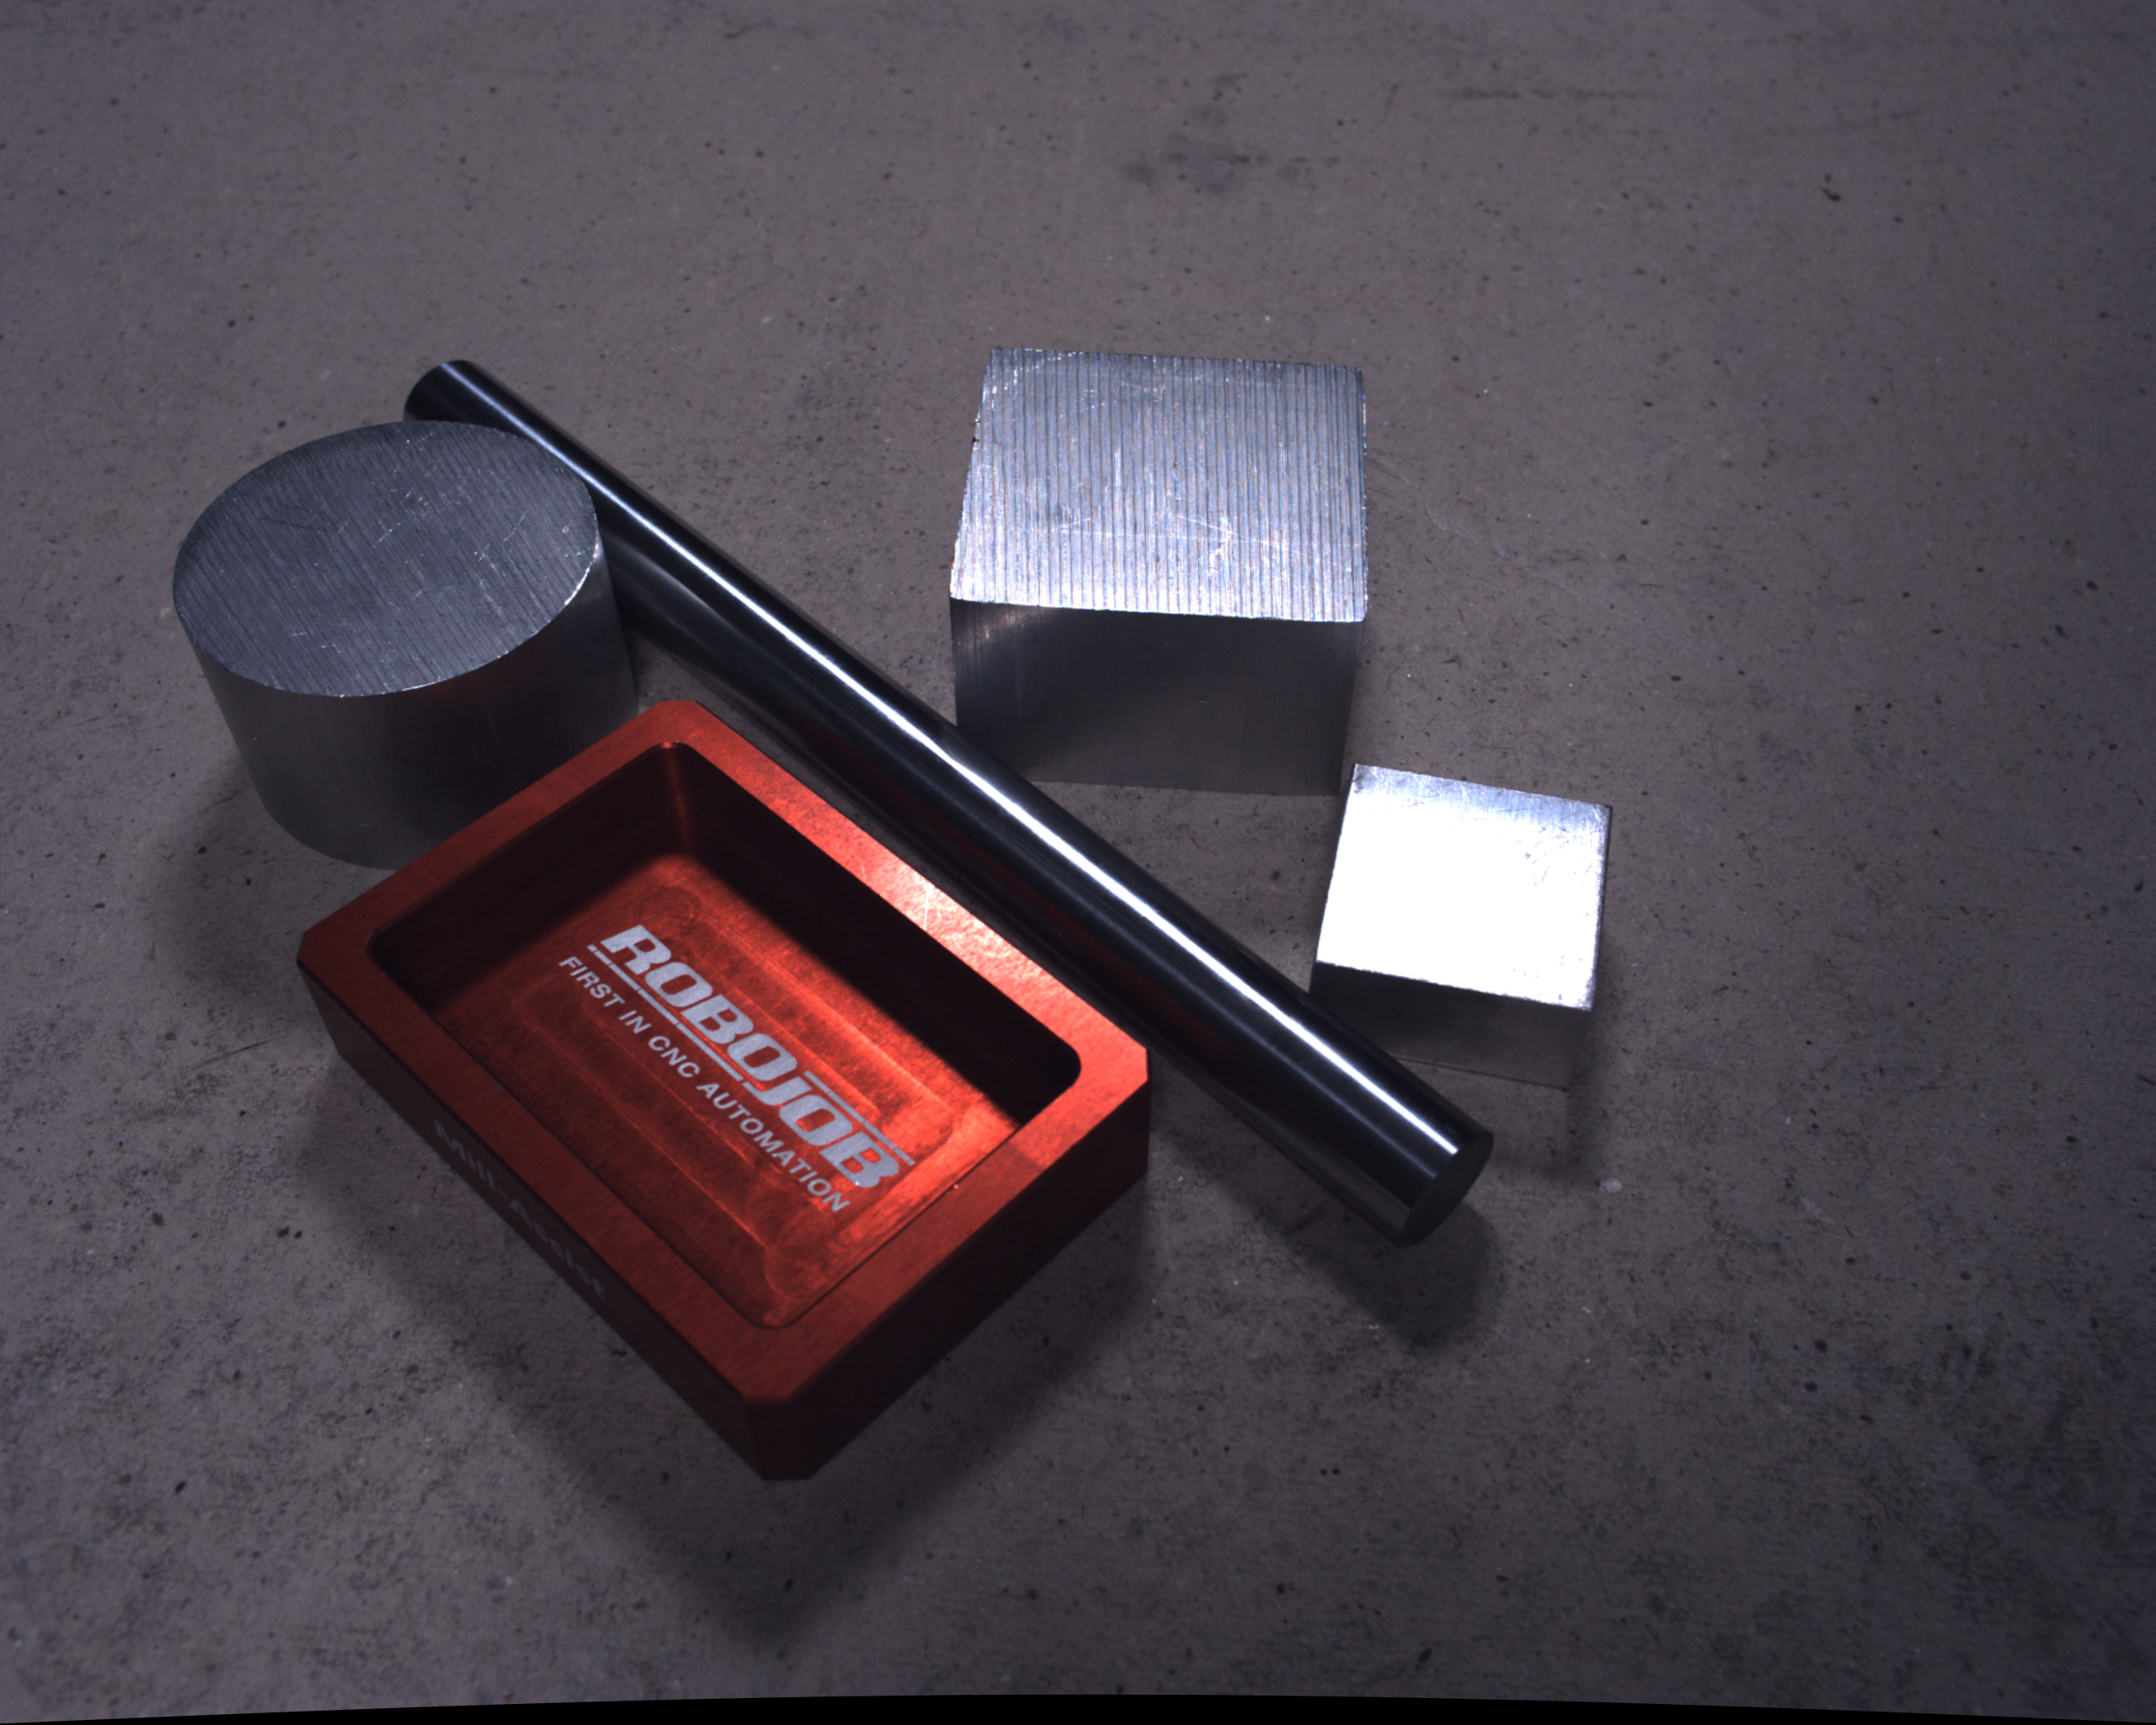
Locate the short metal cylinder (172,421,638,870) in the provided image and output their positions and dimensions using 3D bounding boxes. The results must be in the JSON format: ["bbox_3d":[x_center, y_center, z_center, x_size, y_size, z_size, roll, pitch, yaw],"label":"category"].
[{"bbox_3d":[-0.134,-0.045,0.424,0.081,0.050,0.080,0,50,0],"label":"short metal cylinder"}]

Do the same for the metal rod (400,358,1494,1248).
[{"bbox_3d":[-0.043,-0.026,0.425,0.300,0.025,0.025,38,59,27],"label":"metal rod"}]

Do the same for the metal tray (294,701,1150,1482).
[{"bbox_3d":[-0.063,0.034,0.372,0.130,0.030,0.090,37,59,26],"label":"metal tray"}]

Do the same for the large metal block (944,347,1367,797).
[{"bbox_3d":[0.017,-0.062,0.441,0.080,0.050,0.080,3,50,2],"label":"large metal block"}]

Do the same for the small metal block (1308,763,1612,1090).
[{"bbox_3d":[0.072,0.011,0.397,0.050,0.025,0.050,10,51,8],"label":"small metal block"}]
